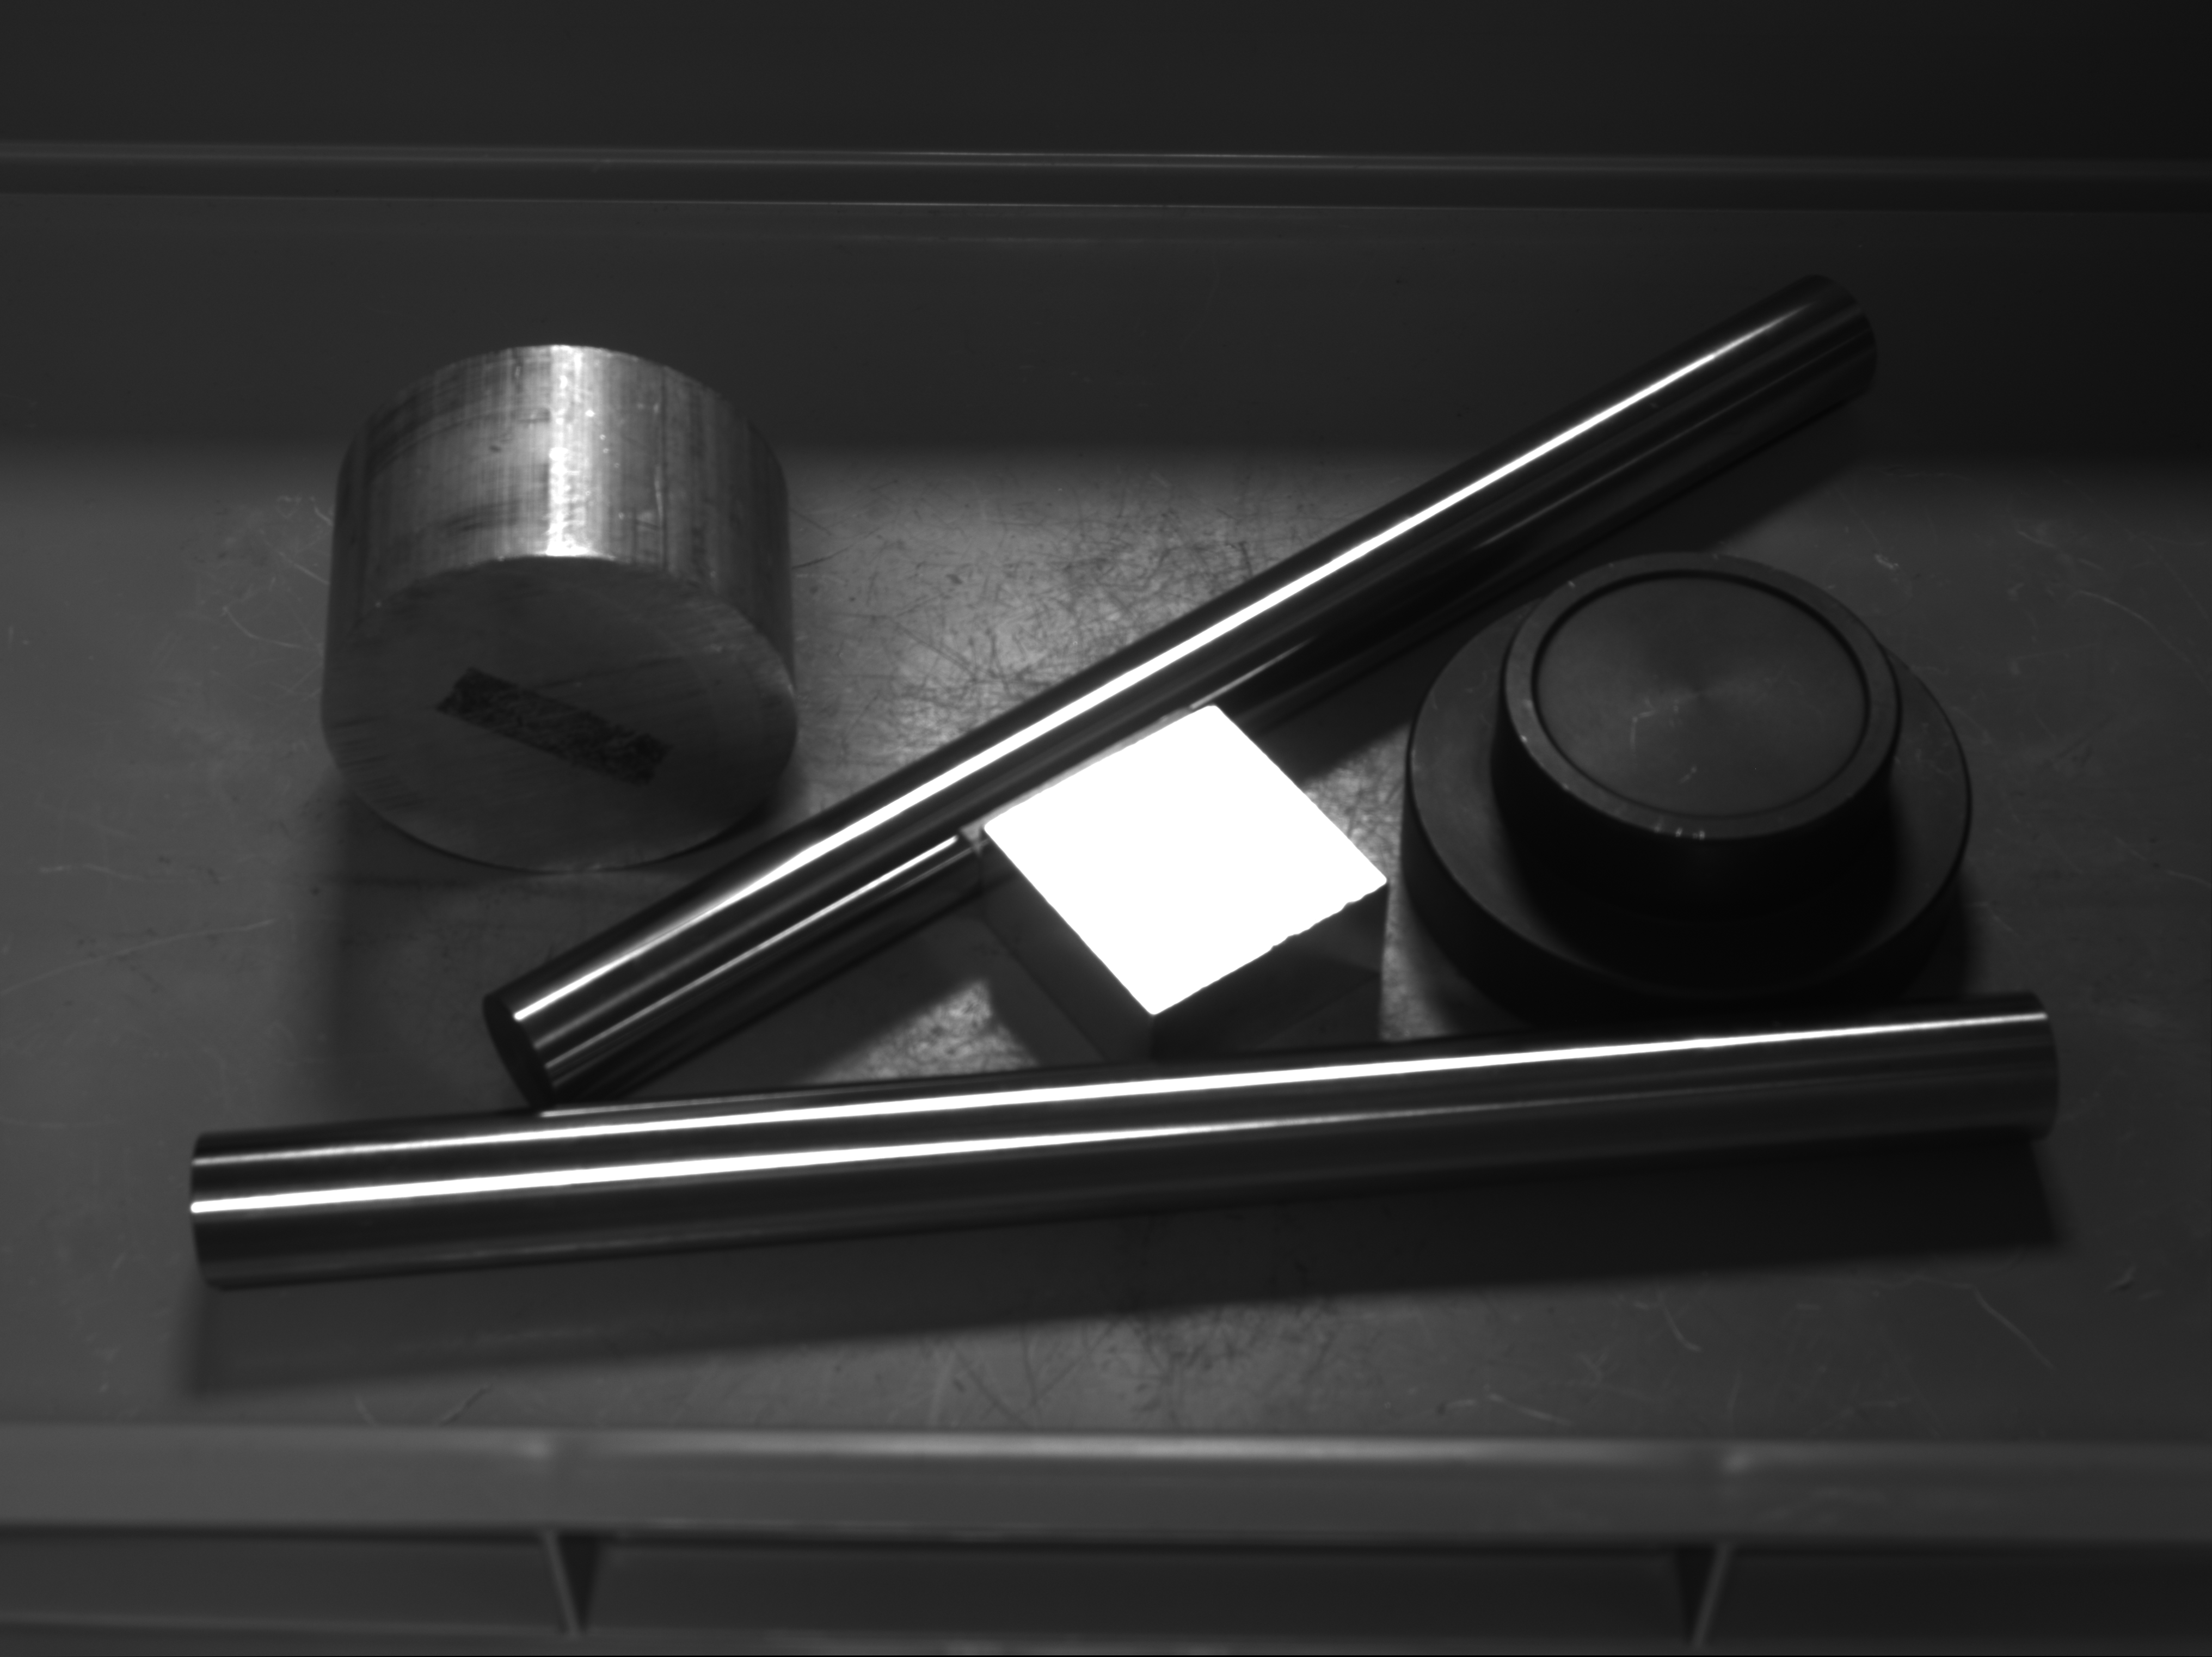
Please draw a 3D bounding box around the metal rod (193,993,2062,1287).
[{"bbox_3d":[0.005,0.050,0.598,0.300,0.025,0.025,-4,50,-4],"label":"metal rod"}]

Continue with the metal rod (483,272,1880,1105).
[{"bbox_3d":[0.024,-0.030,0.666,0.300,0.025,0.025,-30,56,-23],"label":"metal rod"}]

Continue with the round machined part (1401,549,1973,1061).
[{"bbox_3d":[0.101,-0.010,0.636,0.098,0.042,0.098,0,50,0],"label":"round machined part"}]

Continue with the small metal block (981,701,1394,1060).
[{"bbox_3d":[0.014,0.012,0.629,0.050,0.025,0.050,-29,55,-22],"label":"small metal block"}]

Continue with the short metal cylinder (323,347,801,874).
[{"bbox_3d":[-0.094,-0.037,0.637,0.080,0.080,0.050,-4,50,-3],"label":"short metal cylinder"}]
